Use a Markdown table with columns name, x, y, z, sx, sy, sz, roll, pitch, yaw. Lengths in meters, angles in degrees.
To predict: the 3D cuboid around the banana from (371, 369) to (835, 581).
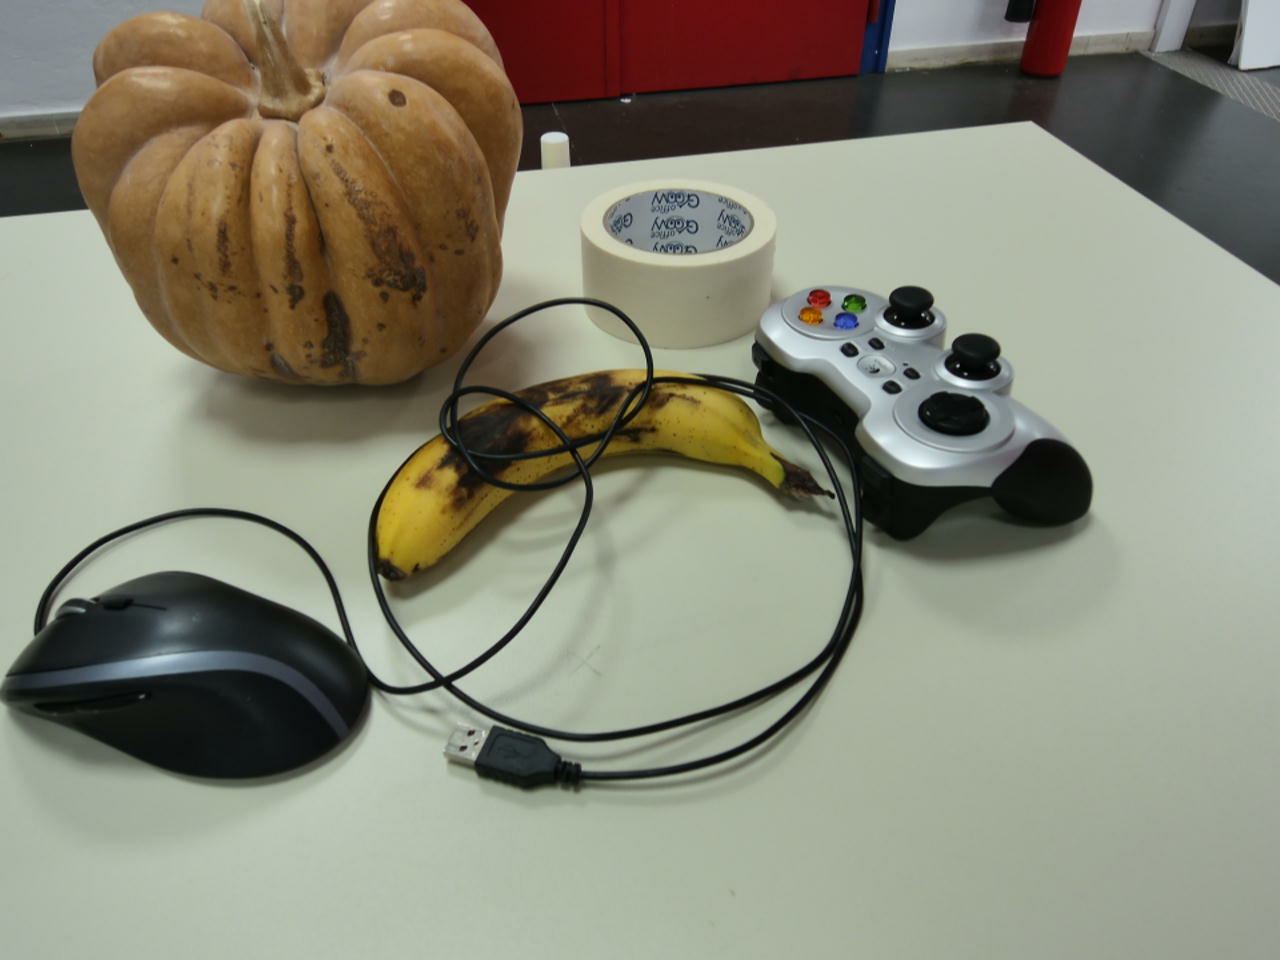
| name | x | y | z | sx | sy | sz | roll | pitch | yaw |
| --- | --- | --- | --- | --- | --- | --- | --- | --- | --- |
| banana | -0.023 | -0.010 | 0.426 | 0.187 | 0.039 | 0.094 | -9 | 39 | -12 |
